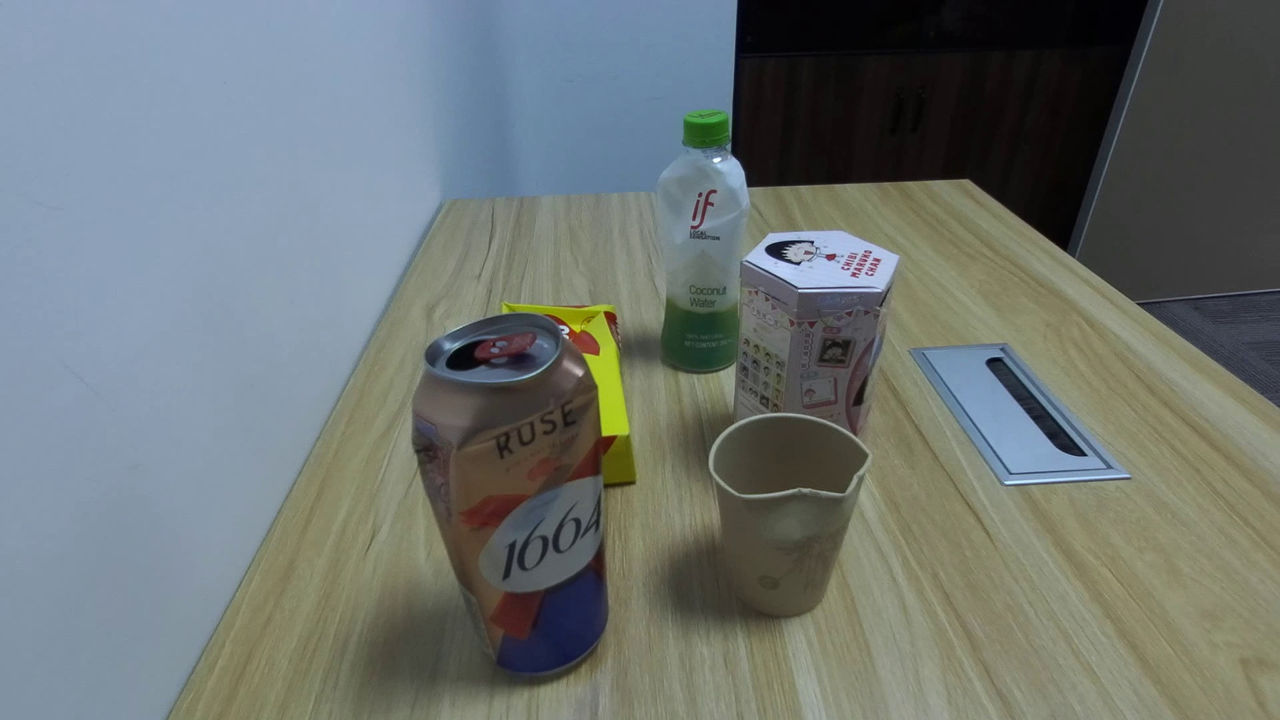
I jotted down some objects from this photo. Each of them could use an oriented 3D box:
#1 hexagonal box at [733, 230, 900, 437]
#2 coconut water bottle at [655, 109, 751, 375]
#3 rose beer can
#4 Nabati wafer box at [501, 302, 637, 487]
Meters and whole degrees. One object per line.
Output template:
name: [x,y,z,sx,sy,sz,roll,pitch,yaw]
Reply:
hexagonal box: [0.106,-0.001,0.434,0.083,0.136,0.091,14,36,22]
coconut water bottle: [0.046,-0.084,0.519,0.067,0.187,0.067,-1,31,1]
rose beer can: [-0.056,0.072,0.329,0.076,0.167,0.065,-18,21,-21]
Nabati wafer box: [-0.059,0.013,0.514,0.096,0.042,0.203,-4,33,-3]
